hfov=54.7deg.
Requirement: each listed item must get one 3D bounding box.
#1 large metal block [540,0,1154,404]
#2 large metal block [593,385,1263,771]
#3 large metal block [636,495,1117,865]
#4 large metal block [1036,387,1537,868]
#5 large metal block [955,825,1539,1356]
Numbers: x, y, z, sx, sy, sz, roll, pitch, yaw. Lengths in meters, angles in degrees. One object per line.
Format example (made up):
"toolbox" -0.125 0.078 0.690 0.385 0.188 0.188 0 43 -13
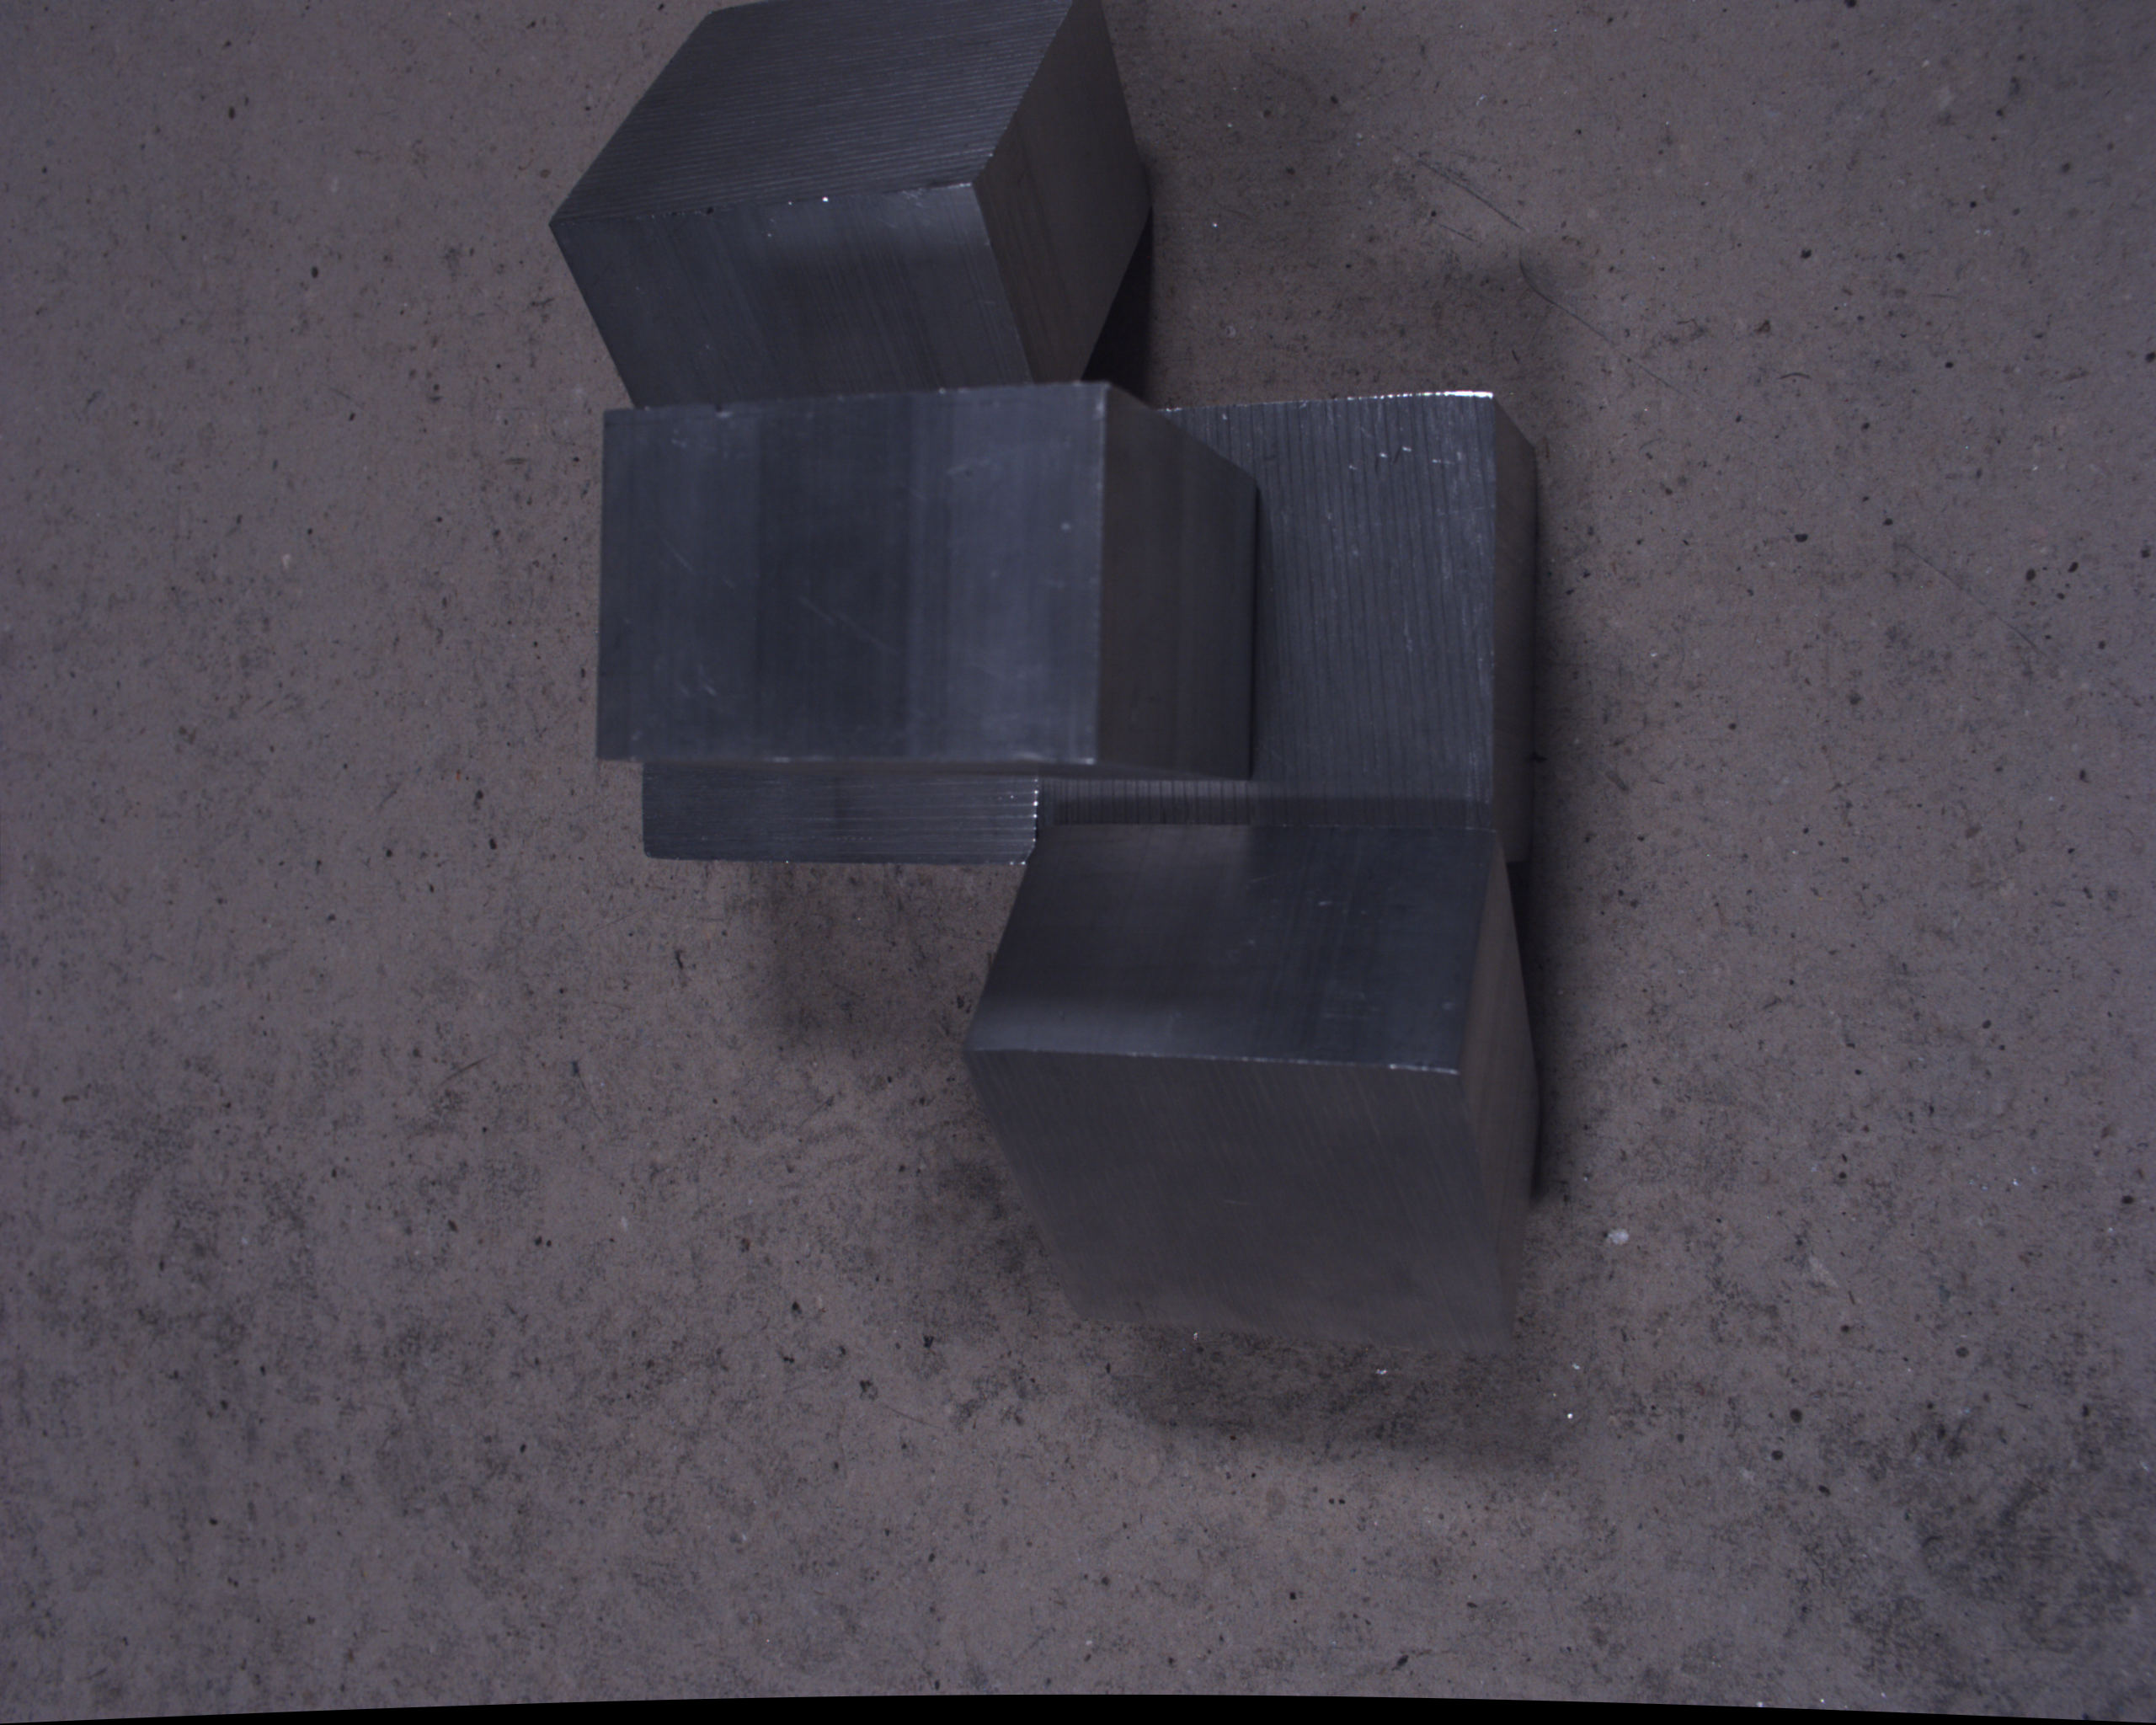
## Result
"large metal block" -0.039 -0.121 0.387 0.080 0.050 0.080 1 46 20
"large metal block" -0.020 -0.041 0.334 0.080 0.080 0.050 1 91 19
"large metal block" -0.037 -0.040 0.407 0.080 0.050 0.079 1 90 19
"large metal block" 0.039 -0.039 0.381 0.080 0.050 0.079 1 90 19
"large metal block" 0.034 0.039 0.362 0.080 0.080 0.050 1 47 19
